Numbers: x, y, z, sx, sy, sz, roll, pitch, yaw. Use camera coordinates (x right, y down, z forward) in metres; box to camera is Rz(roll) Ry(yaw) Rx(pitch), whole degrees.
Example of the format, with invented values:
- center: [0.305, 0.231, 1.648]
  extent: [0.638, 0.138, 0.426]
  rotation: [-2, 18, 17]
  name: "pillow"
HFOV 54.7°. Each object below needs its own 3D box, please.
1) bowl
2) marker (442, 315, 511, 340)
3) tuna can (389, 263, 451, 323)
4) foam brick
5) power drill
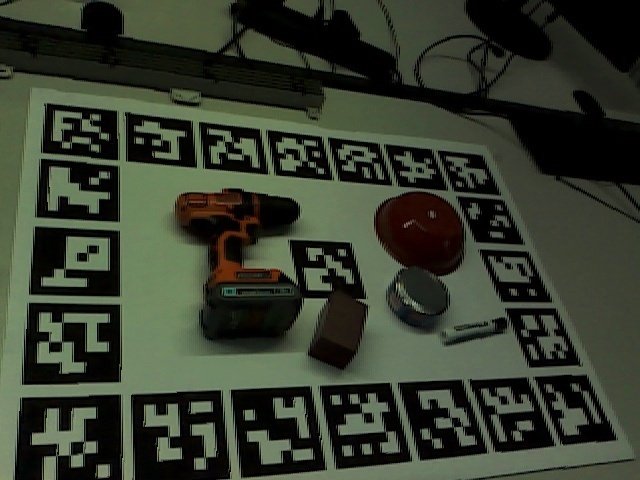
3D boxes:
- center: [0.167, -0.025, 0.990]
  extent: [0.161, 0.055, 0.162]
  rotation: [9, 44, -10]
  name: "bowl"
- center: [0.232, 0.127, 0.903]
  extent: [0.120, 0.019, 0.020]
  rotation: [-6, 57, -27]
  name: "marker"
- center: [0.144, 0.077, 0.898]
  extent: [0.085, 0.034, 0.086]
  rotation: [13, 49, -16]
  name: "tuna can"
- center: [0.022, 0.120, 0.811]
  extent: [0.051, 0.053, 0.078]
  rotation: [22, 49, -6]
  name: "foam brick"
- center: [-0.105, 0.022, 0.832]
  extent: [0.183, 0.057, 0.188]
  rotation: [4, 49, -24]
  name: "power drill"
